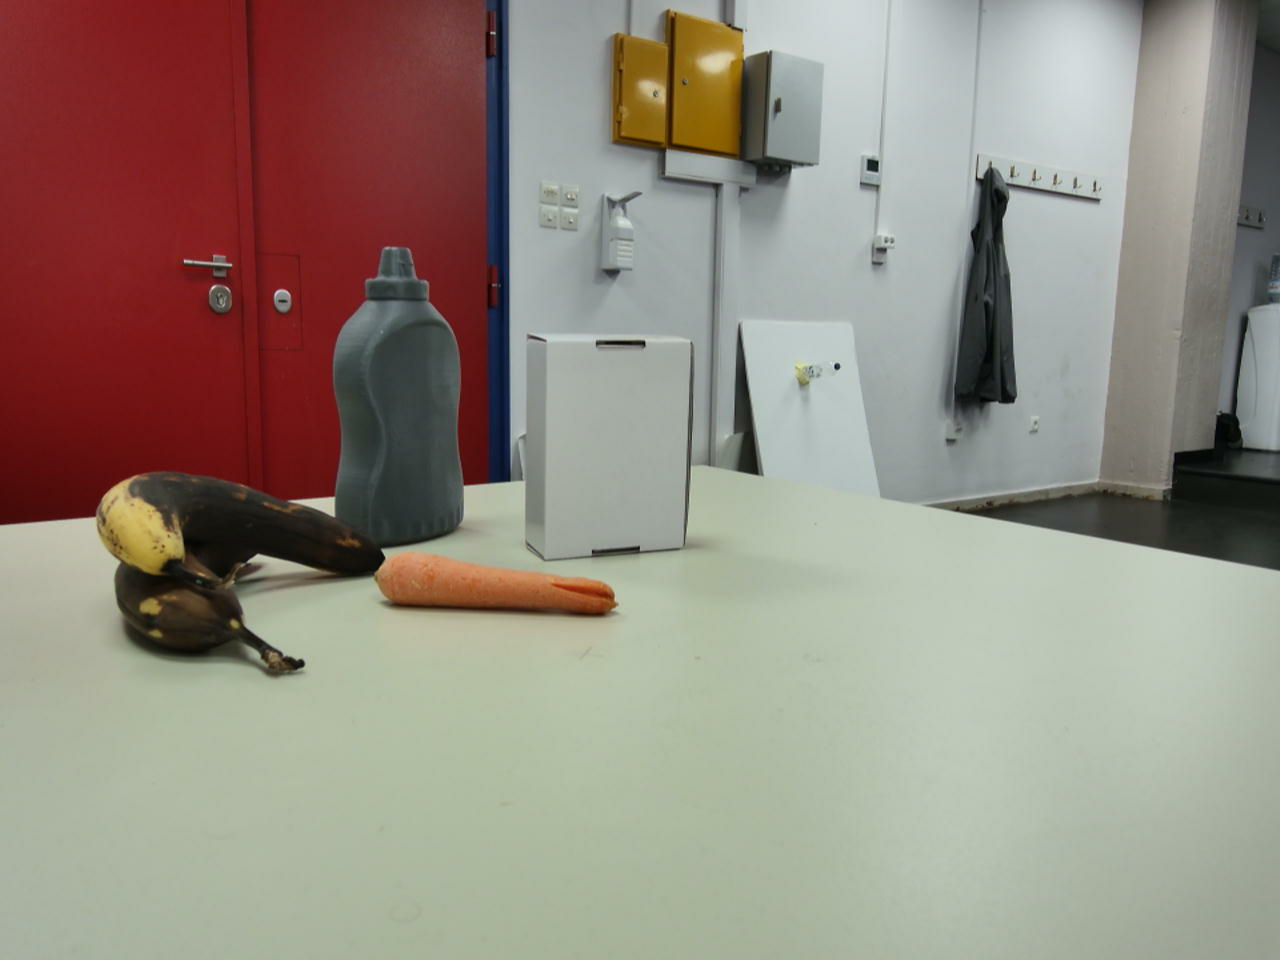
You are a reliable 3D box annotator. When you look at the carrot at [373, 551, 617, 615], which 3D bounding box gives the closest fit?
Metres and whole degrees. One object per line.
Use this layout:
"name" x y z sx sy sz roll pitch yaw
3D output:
"carrot" -0.080 0.056 0.549 0.136 0.032 0.030 2 7 9
